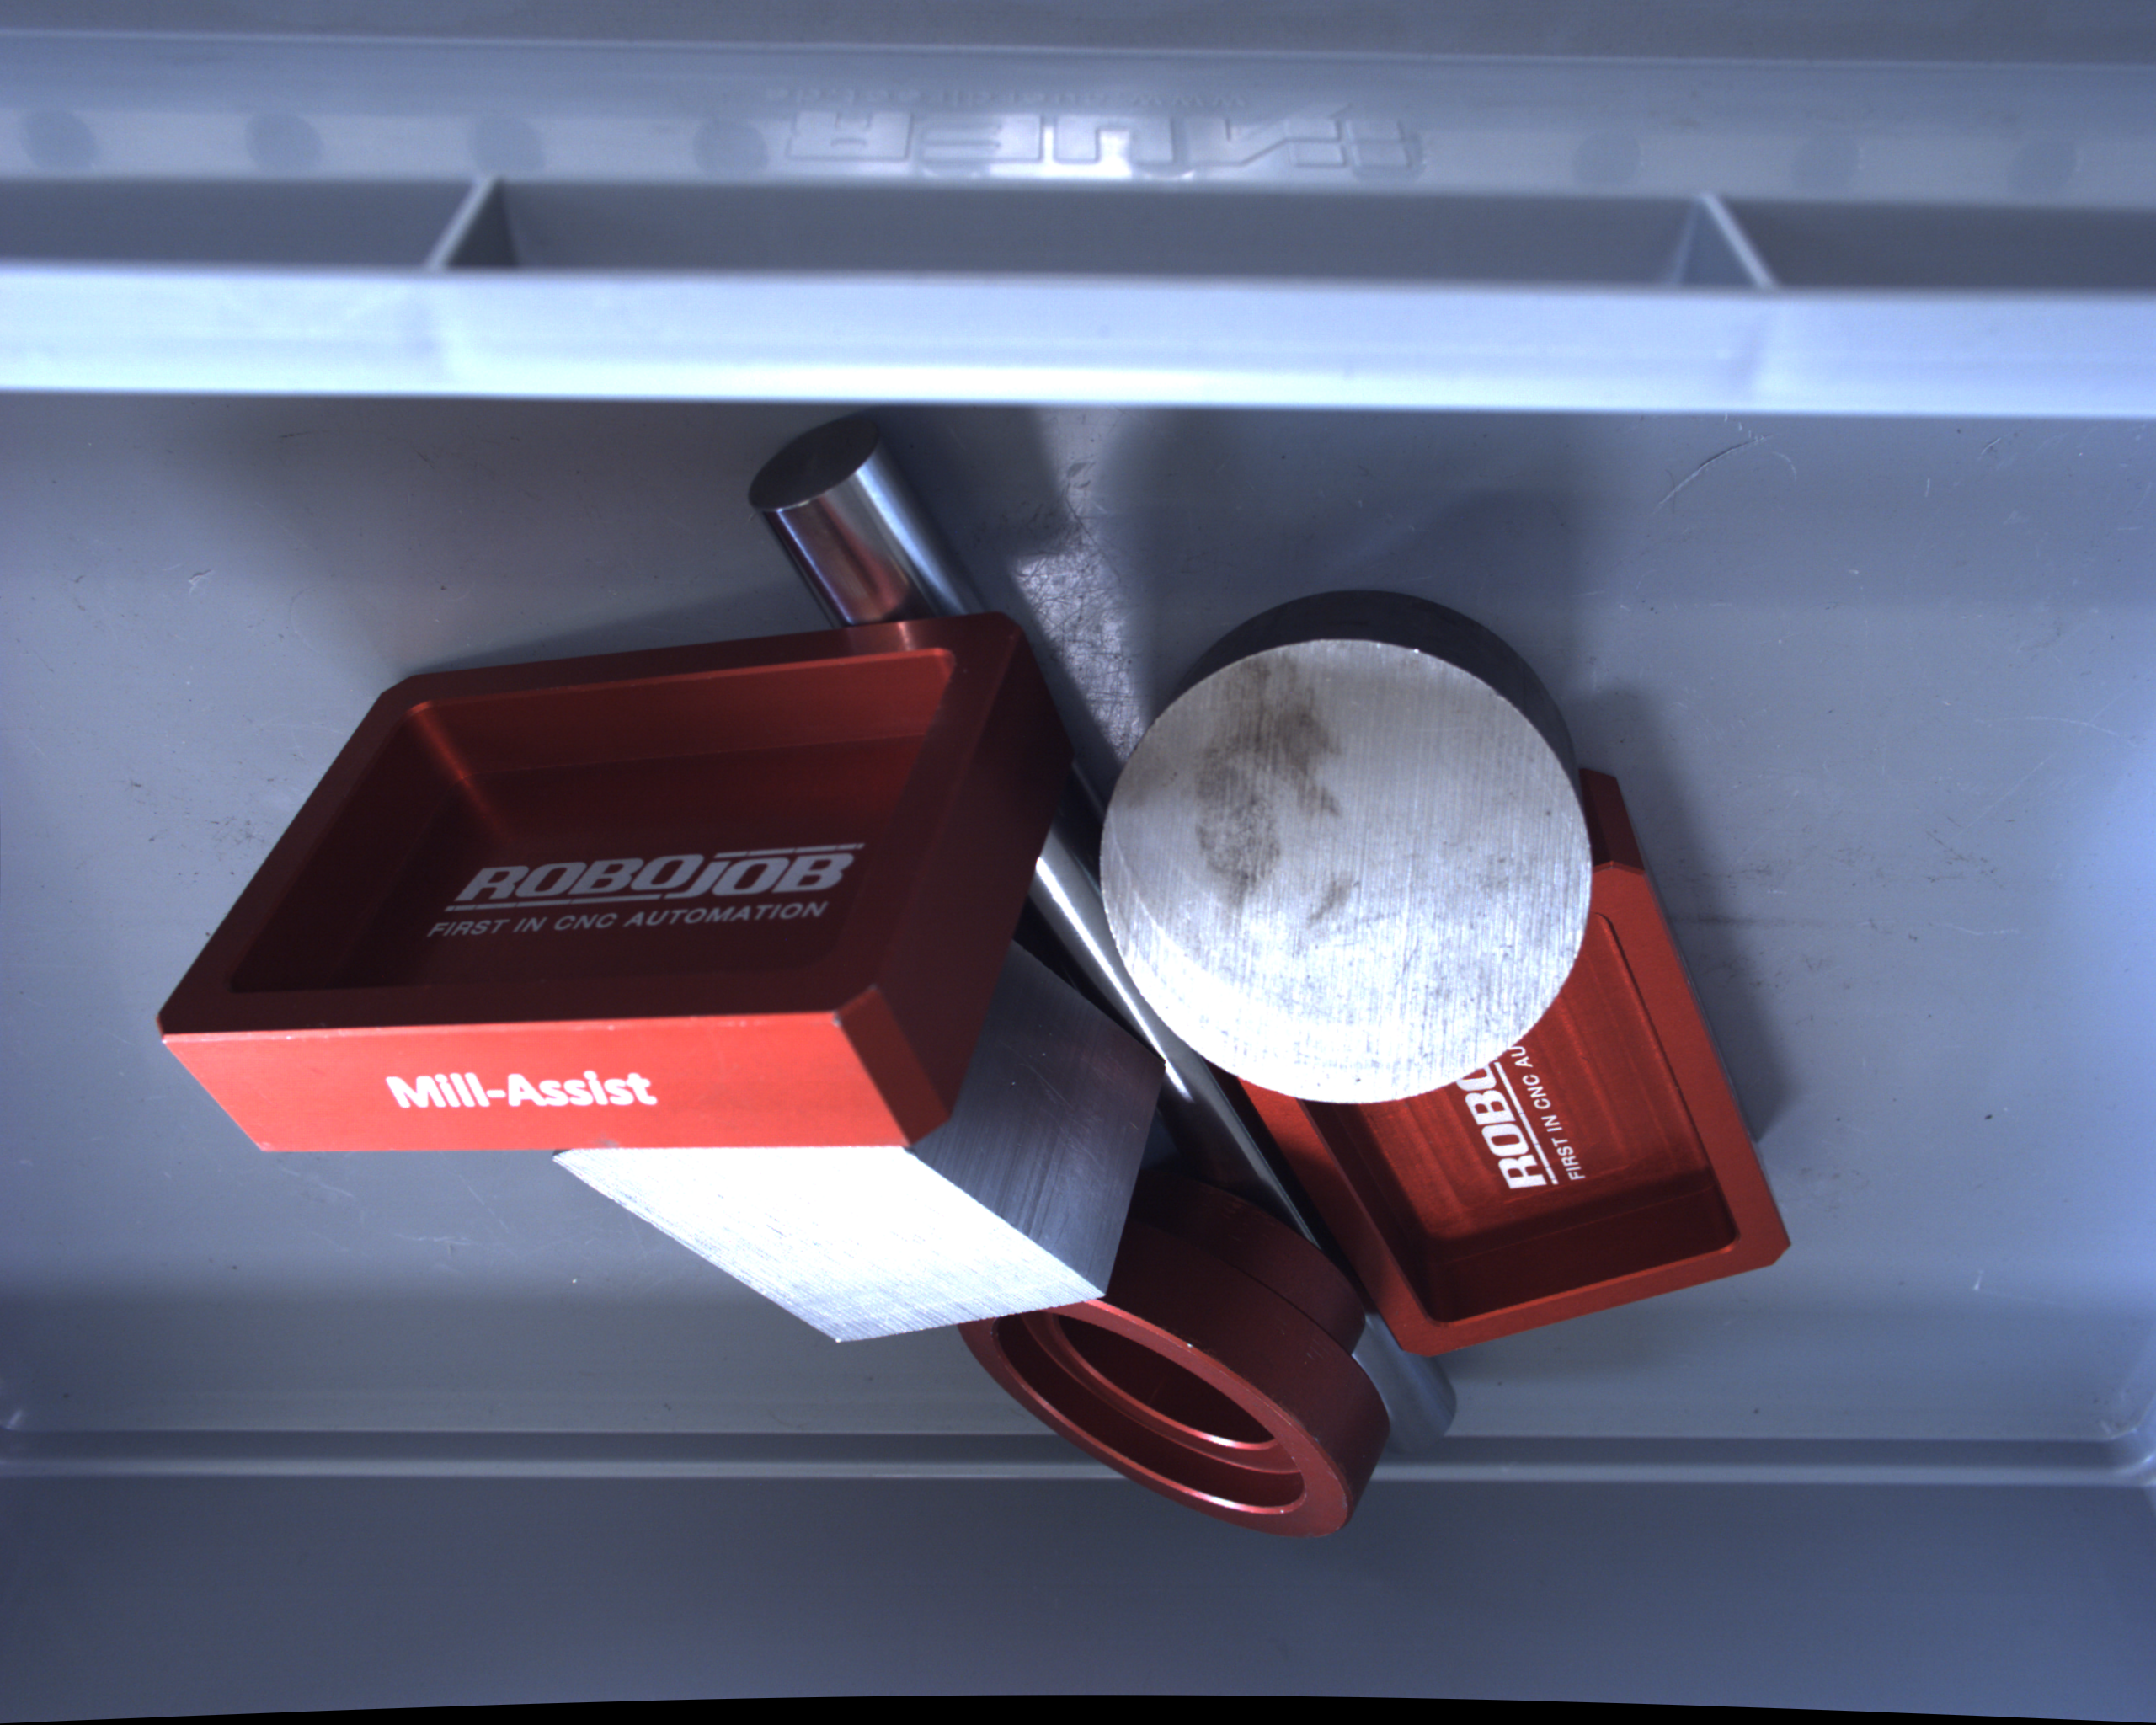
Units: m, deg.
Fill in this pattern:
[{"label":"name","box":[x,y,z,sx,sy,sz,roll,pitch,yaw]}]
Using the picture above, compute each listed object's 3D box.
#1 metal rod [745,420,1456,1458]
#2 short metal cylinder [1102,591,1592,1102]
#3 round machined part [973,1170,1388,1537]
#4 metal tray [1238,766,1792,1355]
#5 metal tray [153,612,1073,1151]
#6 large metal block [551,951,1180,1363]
[{"label":"metal rod","box":[0.019,0.036,0.437,0.025,0.025,0.299,-20,128,16]},{"label":"short metal cylinder","box":[0.048,-0.004,0.368,0.080,0.050,0.079,3,107,10]},{"label":"round machined part","box":[0.025,0.106,0.467,0.098,0.042,0.098,24,149,16]},{"label":"metal tray","box":[0.090,0.048,0.445,0.090,0.030,0.130,-20,128,16]},{"label":"metal tray","box":[-0.075,0.003,0.348,0.130,0.090,0.030,-3,133,22]},{"label":"large metal block","box":[-0.041,0.053,0.411,0.080,0.050,0.080,-22,130,40]}]
